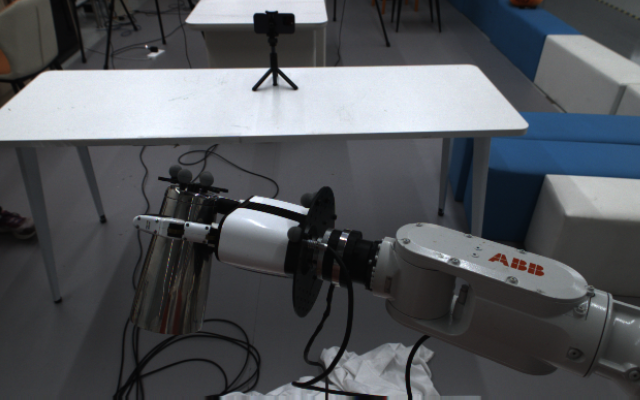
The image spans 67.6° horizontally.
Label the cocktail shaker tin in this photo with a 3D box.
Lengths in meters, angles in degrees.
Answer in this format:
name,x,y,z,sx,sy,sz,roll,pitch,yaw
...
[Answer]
name,x,y,z,sx,sy,sz,roll,pitch,yaw
cocktail shaker tin,-0.178,0.072,0.616,0.093,0.170,0.093,12,3,-1
